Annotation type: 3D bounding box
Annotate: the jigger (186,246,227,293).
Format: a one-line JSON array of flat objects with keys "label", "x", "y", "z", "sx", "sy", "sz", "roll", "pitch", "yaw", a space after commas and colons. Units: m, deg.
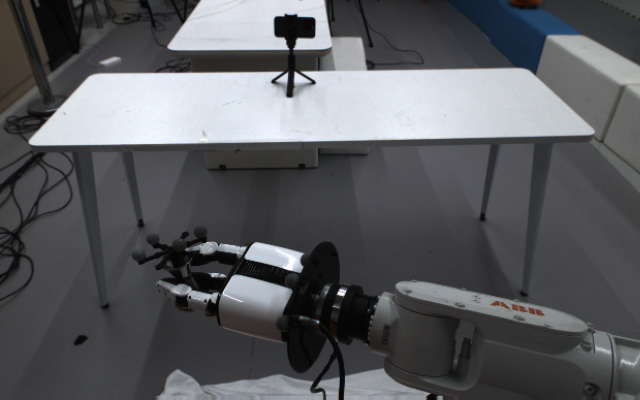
[{"label": "jigger", "x": -0.178, "y": 0.110, "z": 0.649, "sx": 0.043, "sy": 0.071, "sz": 0.043, "roll": -12, "pitch": 25, "yaw": 5}]
